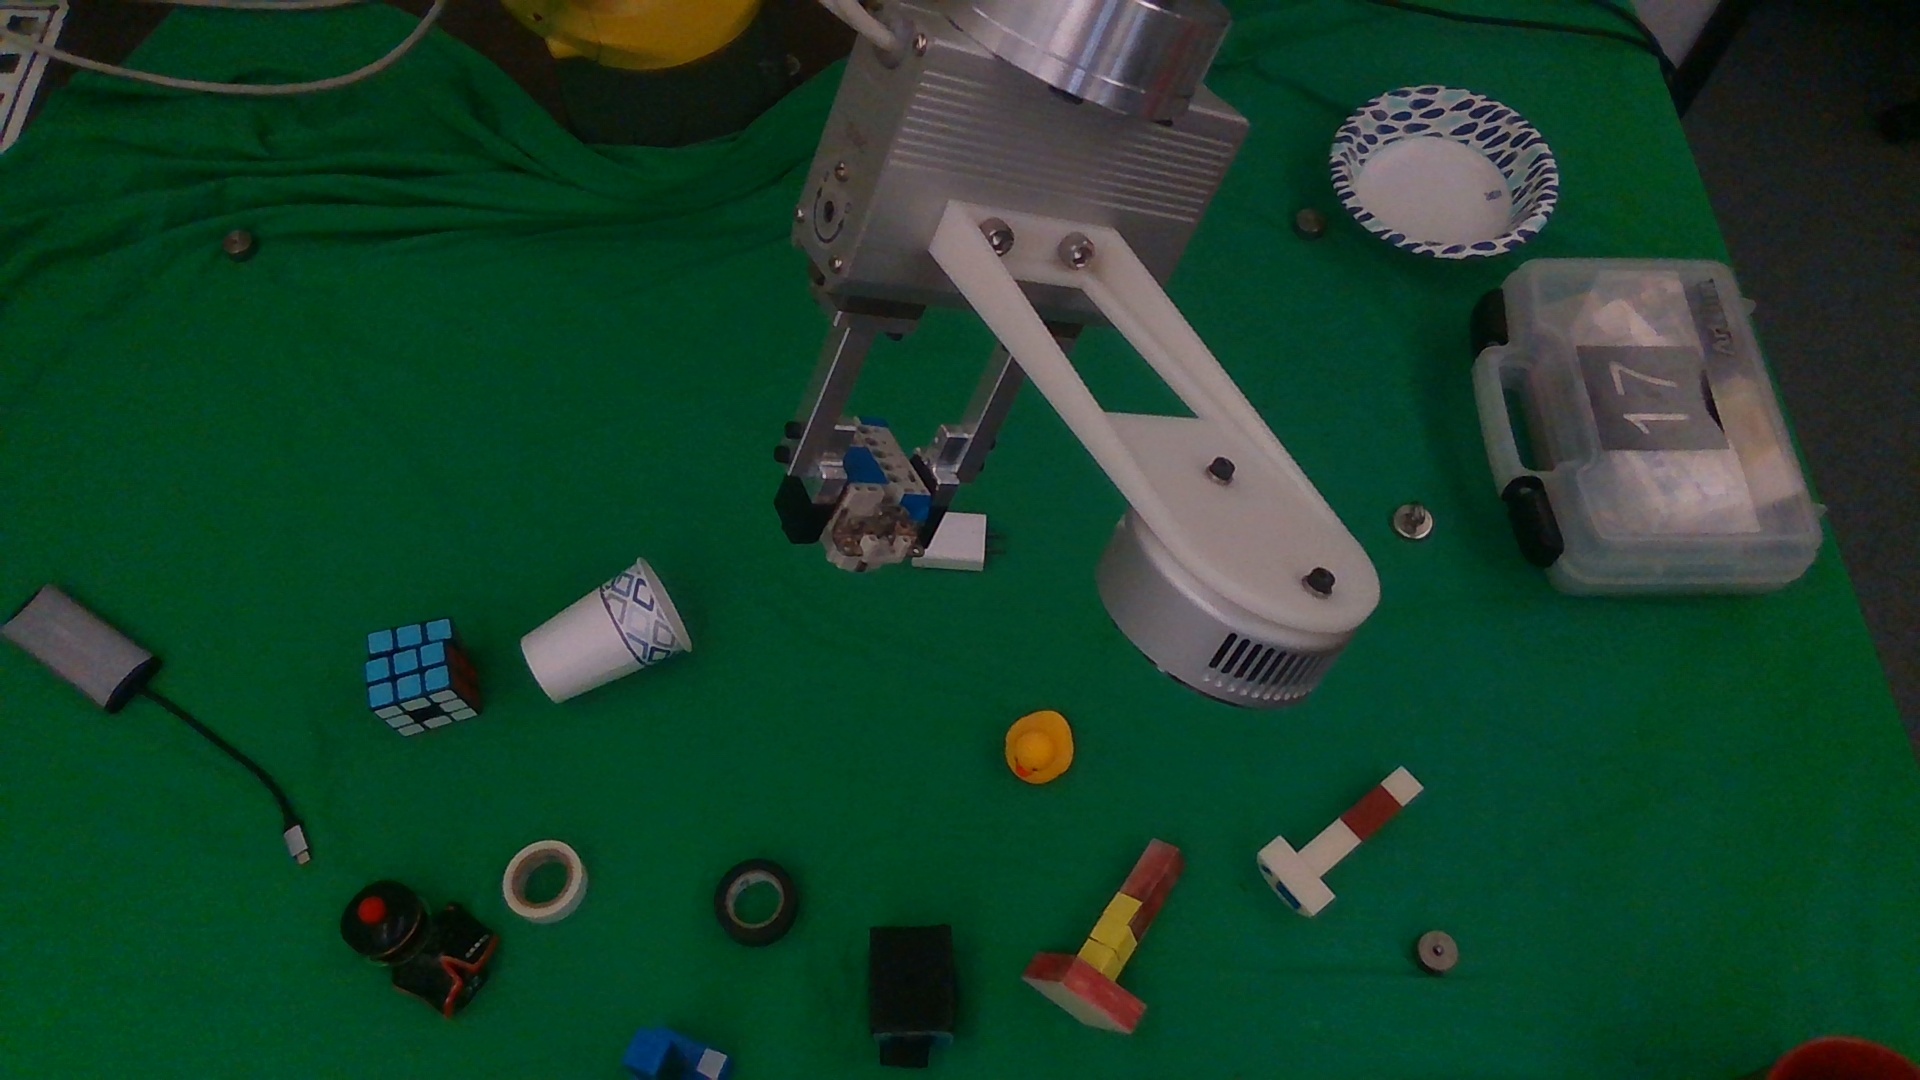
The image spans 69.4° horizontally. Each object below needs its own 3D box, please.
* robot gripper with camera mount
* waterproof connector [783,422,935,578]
[{"bbox_3d":[0.035,-0.009,0.403,0.118,0.159,0.194,0,43,-41],"label":"robot gripper with camera mount"},{"bbox_3d":[-0.037,-0.015,0.487,0.034,0.037,0.065,-1,42,-34],"label":"waterproof connector"}]
